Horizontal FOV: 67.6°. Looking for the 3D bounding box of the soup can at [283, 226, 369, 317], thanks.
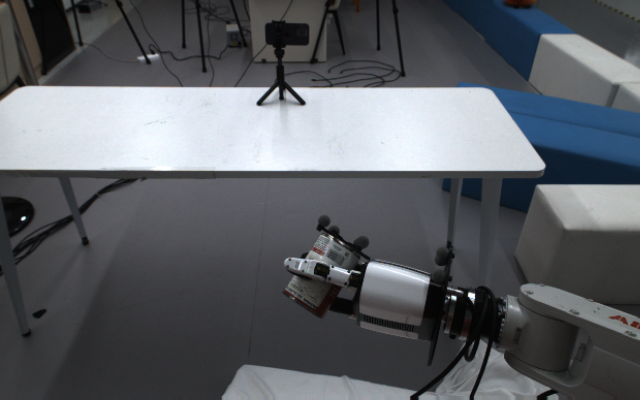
[{"bbox_3d":[0.004,0.106,0.676,0.067,0.067,0.101,27,78,31],"label":"soup can"}]
